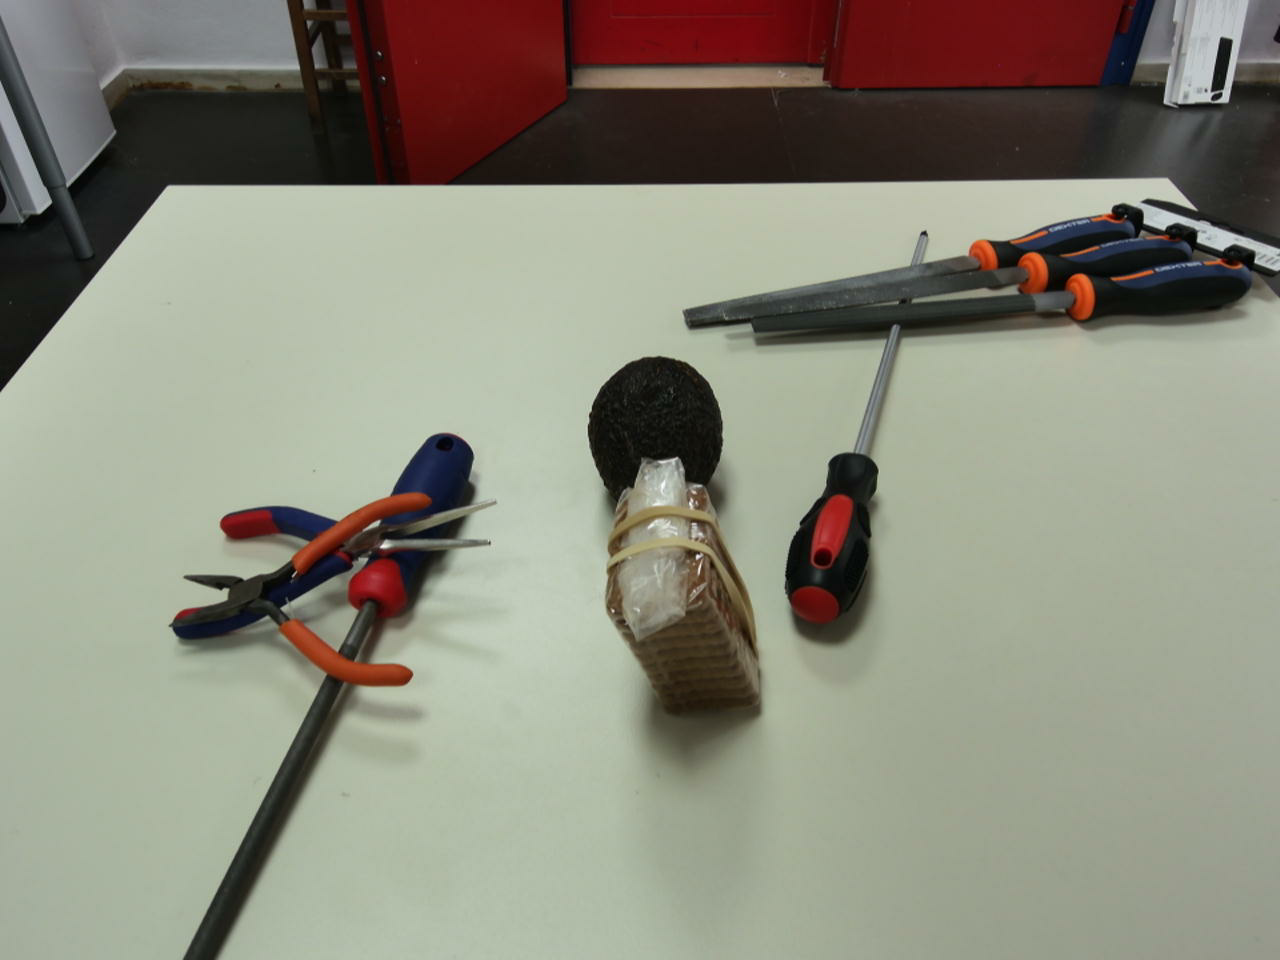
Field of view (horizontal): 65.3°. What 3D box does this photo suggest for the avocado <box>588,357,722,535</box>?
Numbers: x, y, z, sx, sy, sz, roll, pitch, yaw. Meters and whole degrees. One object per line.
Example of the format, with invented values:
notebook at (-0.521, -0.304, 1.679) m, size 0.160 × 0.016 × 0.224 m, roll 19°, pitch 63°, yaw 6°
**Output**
avocado at (0.006, -0.022, 0.511) m, size 0.070 × 0.069 × 0.090 m, roll 16°, pitch 42°, yaw 19°
